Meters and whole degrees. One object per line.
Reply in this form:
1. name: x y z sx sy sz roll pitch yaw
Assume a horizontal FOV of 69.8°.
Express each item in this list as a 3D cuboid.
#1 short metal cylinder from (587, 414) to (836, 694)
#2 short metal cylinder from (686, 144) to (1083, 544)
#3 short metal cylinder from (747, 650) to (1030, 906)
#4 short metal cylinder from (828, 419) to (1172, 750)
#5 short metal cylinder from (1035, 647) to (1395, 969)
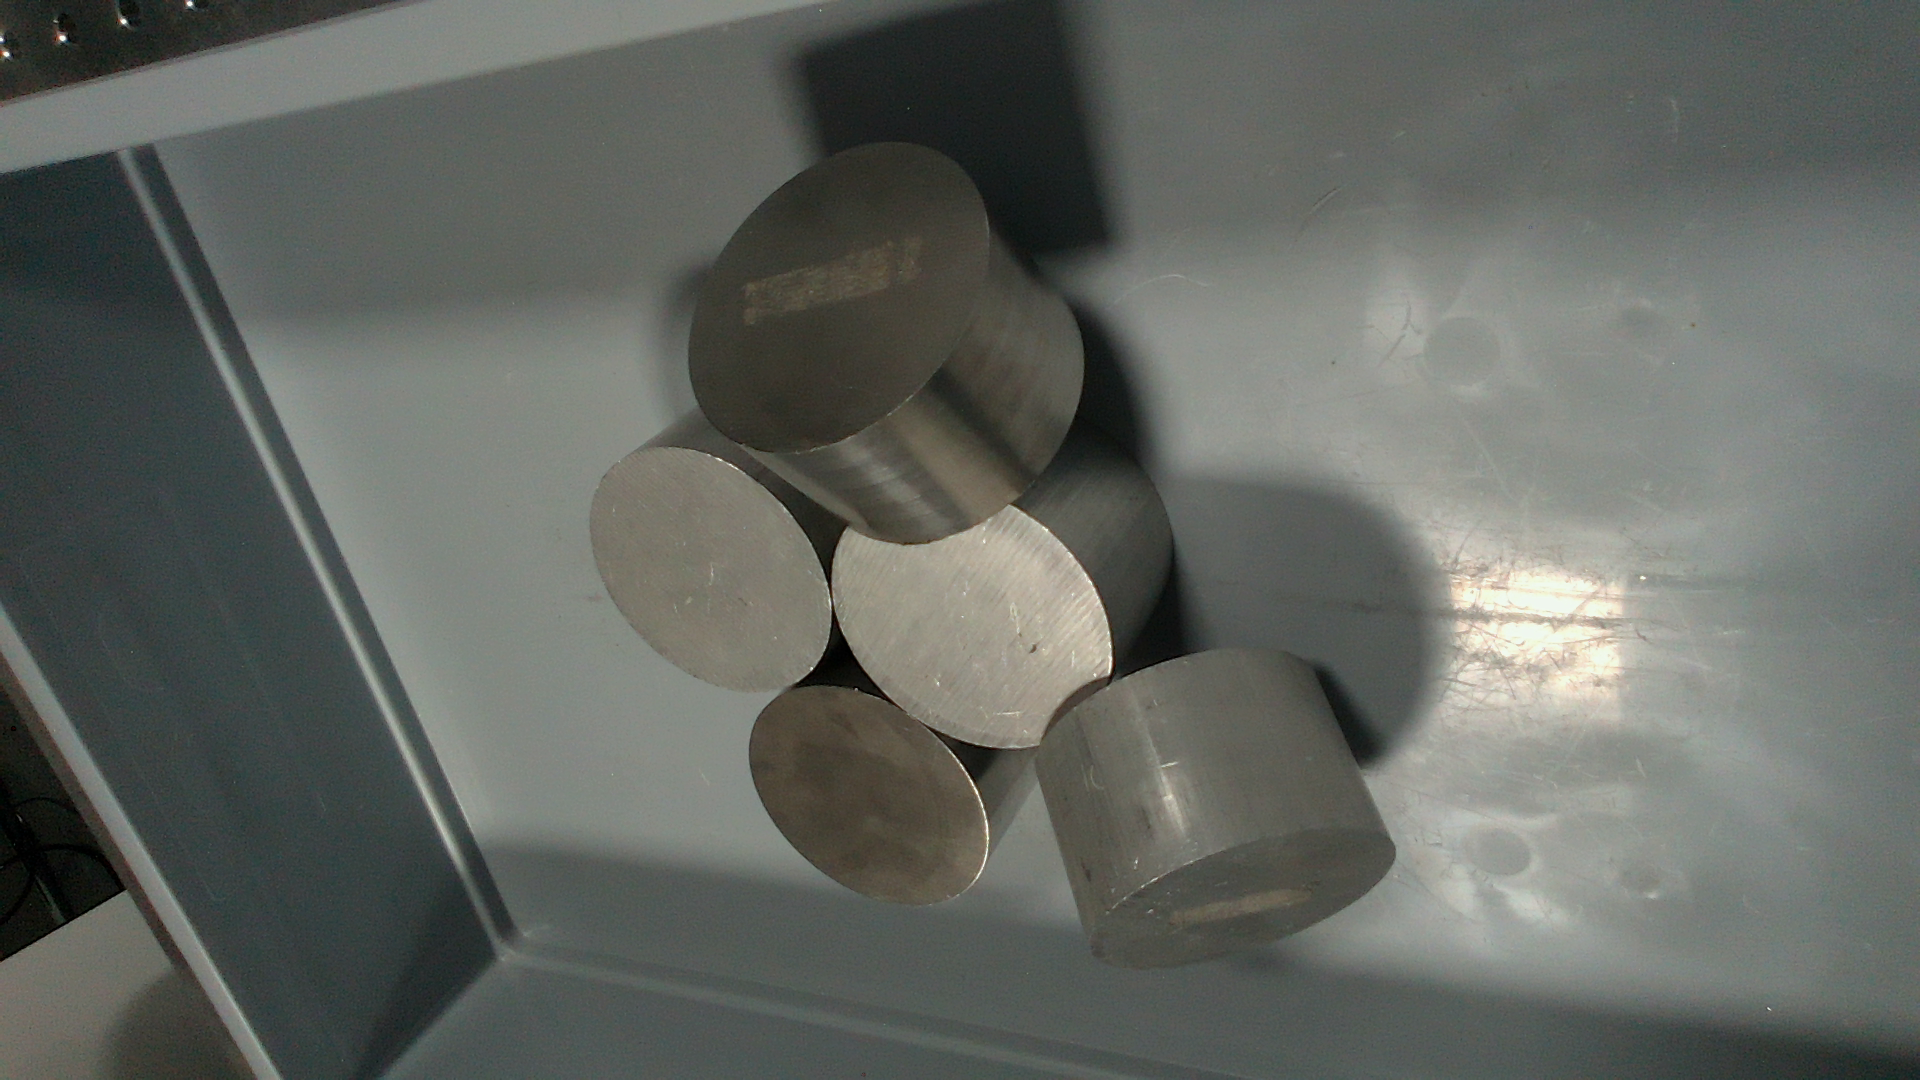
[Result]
1. short metal cylinder: -0.062 -0.002 0.407 0.080 0.050 0.080 13 124 21
2. short metal cylinder: -0.017 -0.046 0.328 0.080 0.080 0.050 -3 155 30
3. short metal cylinder: -0.018 0.065 0.424 0.080 0.050 0.080 13 124 21
4. short metal cylinder: 0.012 0.009 0.374 0.080 0.050 0.080 13 124 21
5. short metal cylinder: 0.064 0.071 0.358 0.080 0.050 0.080 -11 145 -8
